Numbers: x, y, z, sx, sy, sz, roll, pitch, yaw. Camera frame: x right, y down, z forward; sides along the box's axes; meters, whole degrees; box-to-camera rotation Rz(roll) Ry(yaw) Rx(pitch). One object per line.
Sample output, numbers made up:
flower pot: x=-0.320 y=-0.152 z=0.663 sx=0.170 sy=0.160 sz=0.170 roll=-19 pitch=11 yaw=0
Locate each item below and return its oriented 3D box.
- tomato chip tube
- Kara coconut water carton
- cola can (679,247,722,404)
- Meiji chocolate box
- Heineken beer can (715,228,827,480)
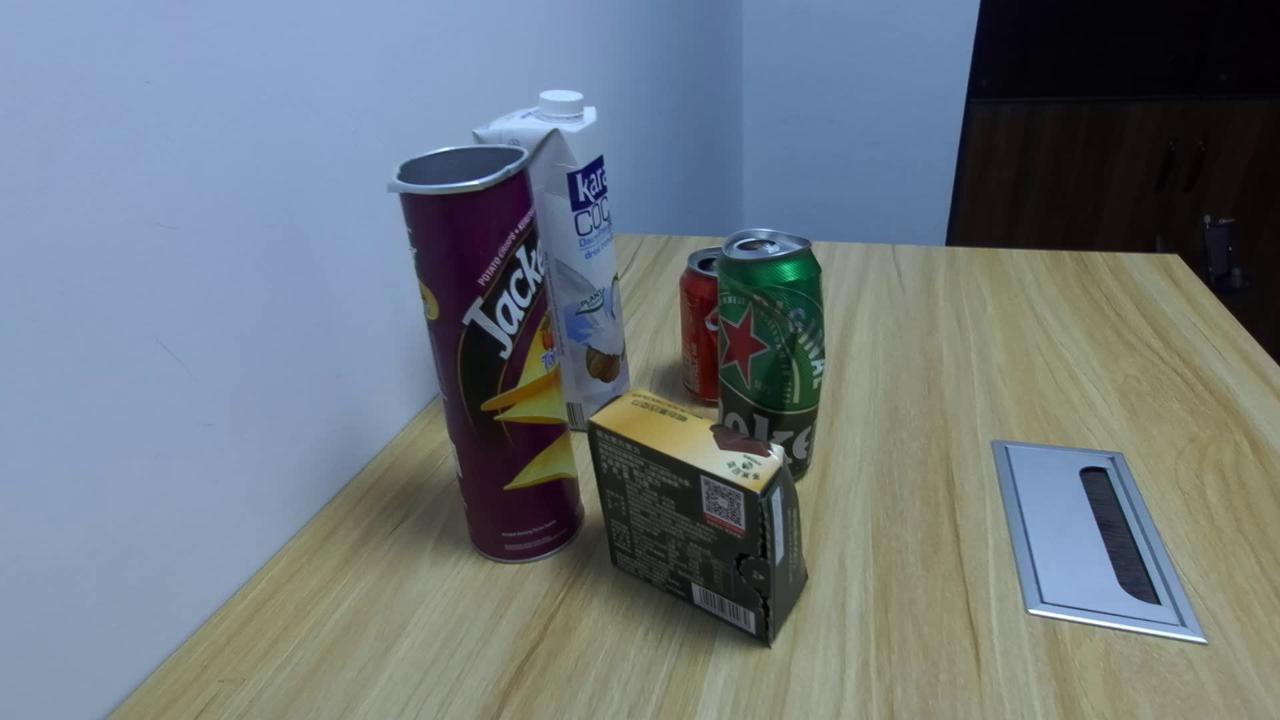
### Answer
tomato chip tube: x=-0.082 y=0.004 z=0.414 sx=0.076 sy=0.234 sz=0.080 roll=13 pitch=33 yaw=31
Kara coconut water carton: x=-0.058 y=-0.067 z=0.523 sx=0.075 sy=0.245 sz=0.077 roll=4 pitch=29 yaw=19
cola can: x=0.066 y=-0.030 z=0.572 sx=0.072 sy=0.117 sz=0.065 roll=-21 pitch=33 yaw=-23
Meiji chocolate box: x=0.035 y=0.079 z=0.385 sx=0.112 sy=0.111 sz=0.058 roll=17 pitch=39 yaw=36
Heineken beer can: x=0.084 y=0.002 z=0.464 sx=0.066 sy=0.164 sz=0.077 roll=1 pitch=25 yaw=9
